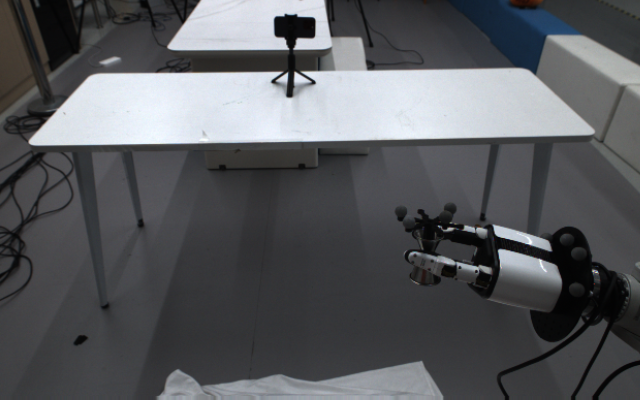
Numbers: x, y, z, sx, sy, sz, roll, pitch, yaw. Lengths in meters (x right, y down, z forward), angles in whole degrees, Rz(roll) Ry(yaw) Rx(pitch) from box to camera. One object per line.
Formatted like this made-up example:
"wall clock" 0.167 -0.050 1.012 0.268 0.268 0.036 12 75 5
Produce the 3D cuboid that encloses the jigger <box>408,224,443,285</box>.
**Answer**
"jigger" 0.146 0.077 0.667 0.043 0.071 0.043 0 21 0
